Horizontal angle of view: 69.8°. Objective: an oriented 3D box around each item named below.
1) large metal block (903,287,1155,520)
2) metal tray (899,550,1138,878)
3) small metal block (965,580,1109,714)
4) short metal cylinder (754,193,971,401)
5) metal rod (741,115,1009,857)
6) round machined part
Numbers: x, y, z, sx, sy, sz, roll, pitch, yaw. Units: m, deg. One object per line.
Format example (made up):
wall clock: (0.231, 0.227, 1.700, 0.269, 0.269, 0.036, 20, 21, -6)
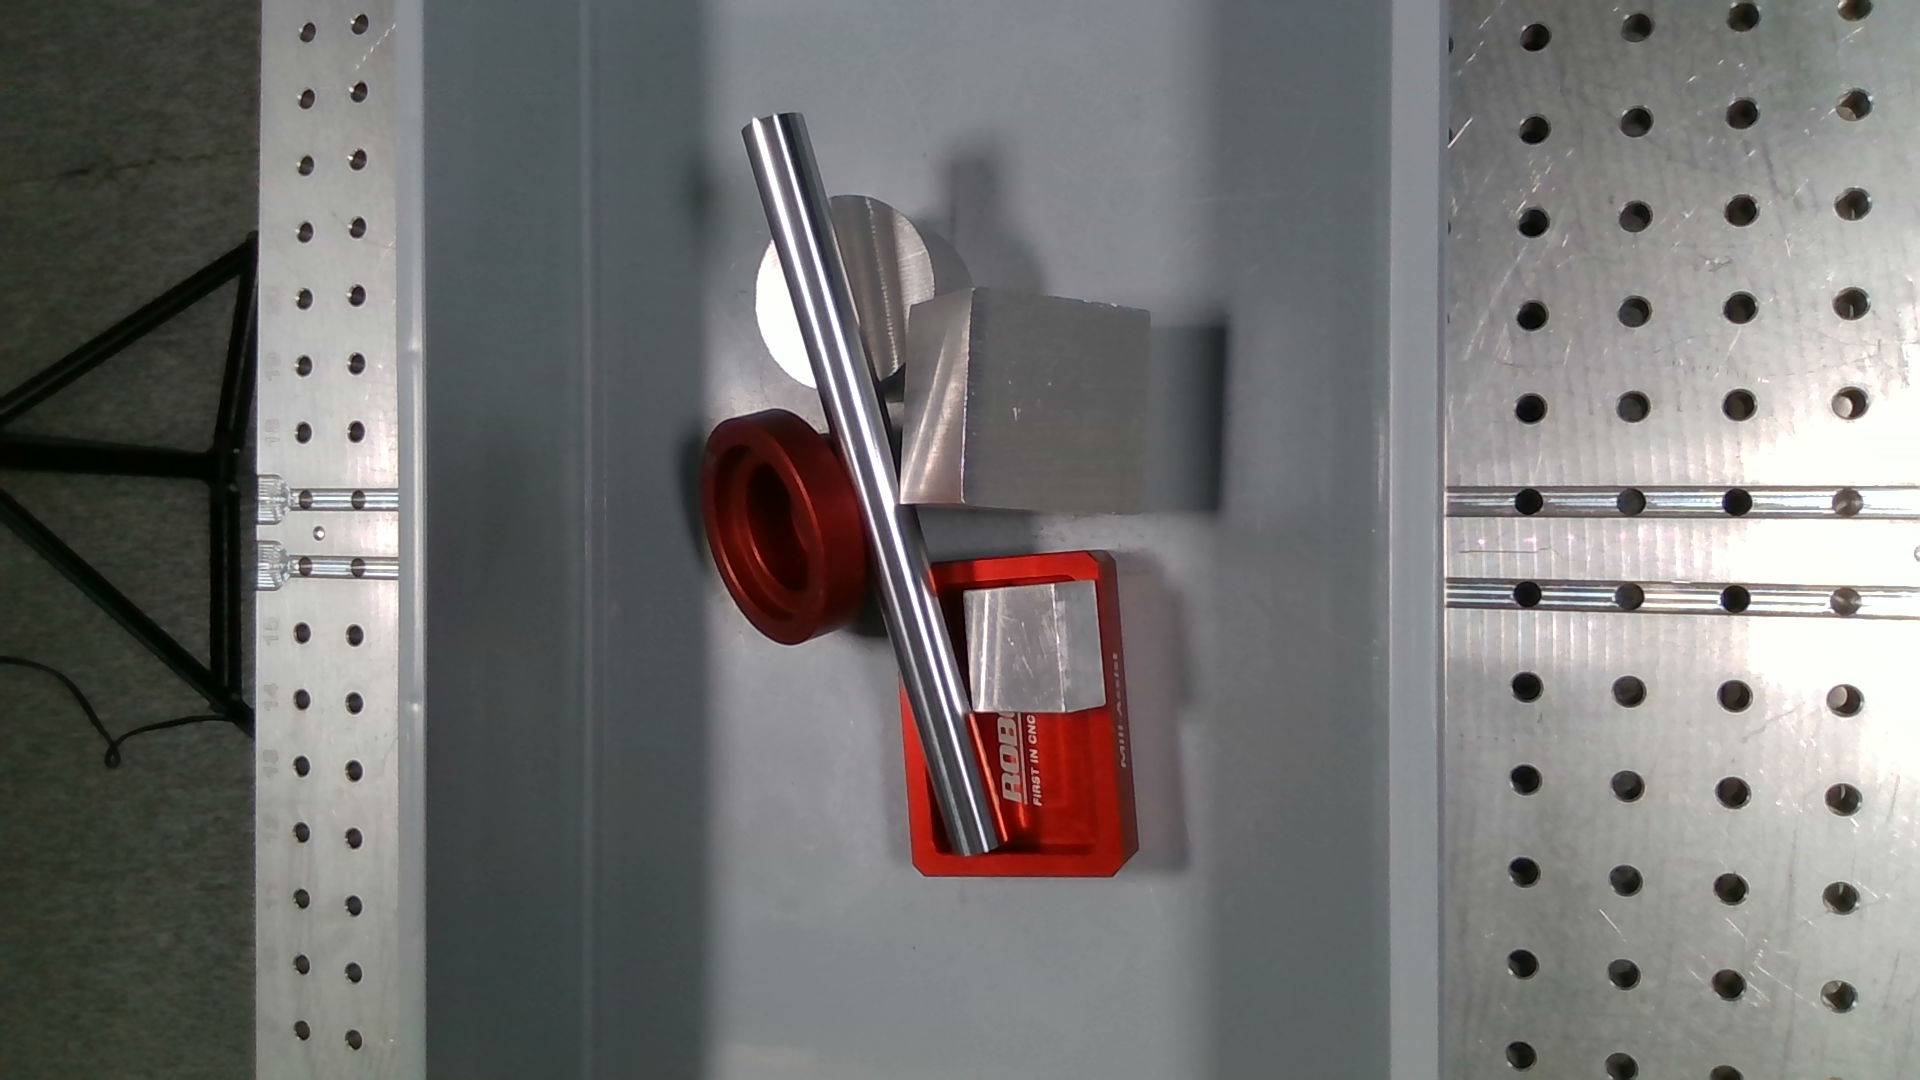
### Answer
large metal block: (0.026, -0.050, 0.537, 0.050, 0.080, 0.080, 4, 91, 62)
metal tray: (0.022, 0.072, 0.574, 0.090, 0.030, 0.130, -5, 89, 20)
small metal block: (0.030, 0.043, 0.551, 0.050, 0.025, 0.050, -6, 88, 46)
short metal cylinder: (-0.040, -0.101, 0.584, 0.080, 0.050, 0.080, 0, 90, 20)
metal rod: (-0.033, -0.018, 0.552, 0.025, 0.025, 0.300, -14, 97, 20)
round machined part: (-0.068, -0.008, 0.583, 0.098, 0.042, 0.098, 26, 125, 45)
